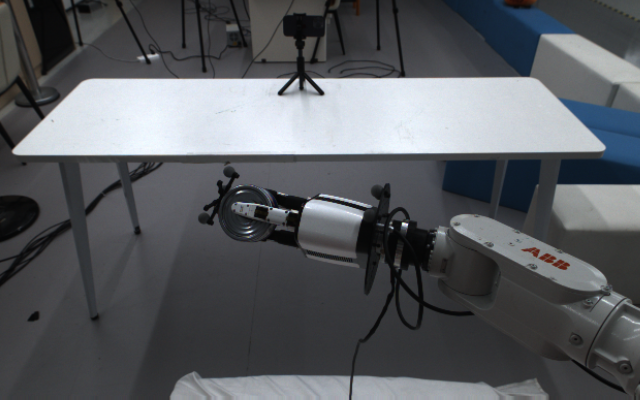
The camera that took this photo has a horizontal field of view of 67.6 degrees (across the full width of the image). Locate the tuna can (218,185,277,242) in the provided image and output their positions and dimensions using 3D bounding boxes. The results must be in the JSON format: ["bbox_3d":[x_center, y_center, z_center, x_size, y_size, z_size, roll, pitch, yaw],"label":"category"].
[{"bbox_3d":[-0.103,0.023,0.712,0.085,0.085,0.034,9,-3,10],"label":"tuna can"}]
